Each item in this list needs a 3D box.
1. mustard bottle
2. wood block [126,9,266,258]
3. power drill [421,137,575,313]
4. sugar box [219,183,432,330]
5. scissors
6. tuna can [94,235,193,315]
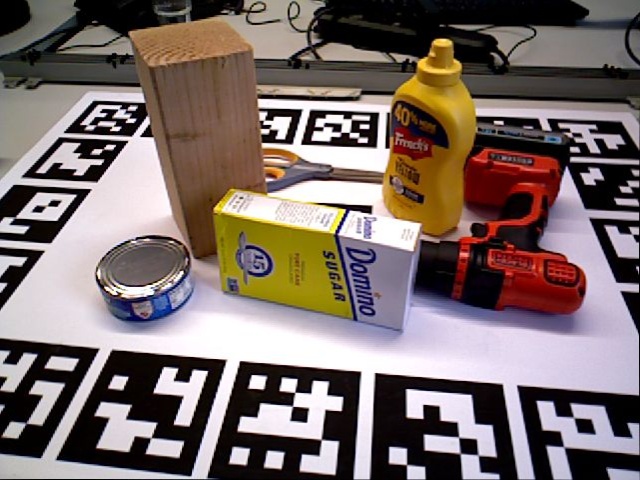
[{"bbox_3d":[0.111,-0.103,0.534,0.057,0.195,0.096,-26,49,-23],"label":"mustard bottle"},{"bbox_3d":[-0.111,-0.096,0.526,0.090,0.211,0.089,-16,46,-16],"label":"wood block"},{"bbox_3d":[0.153,-0.022,0.532,0.185,0.058,0.183,13,52,16],"label":"power drill"},{"bbox_3d":[0.002,0.015,0.475,0.176,0.095,0.044,13,41,13],"label":"sugar box"},{"bbox_3d":[-0.020,-0.093,0.647,0.202,0.016,0.086,5,39,8],"label":"scissors"},{"bbox_3d":[-0.162,0.028,0.504,0.085,0.034,0.084,-1,44,0],"label":"tuna can"}]
